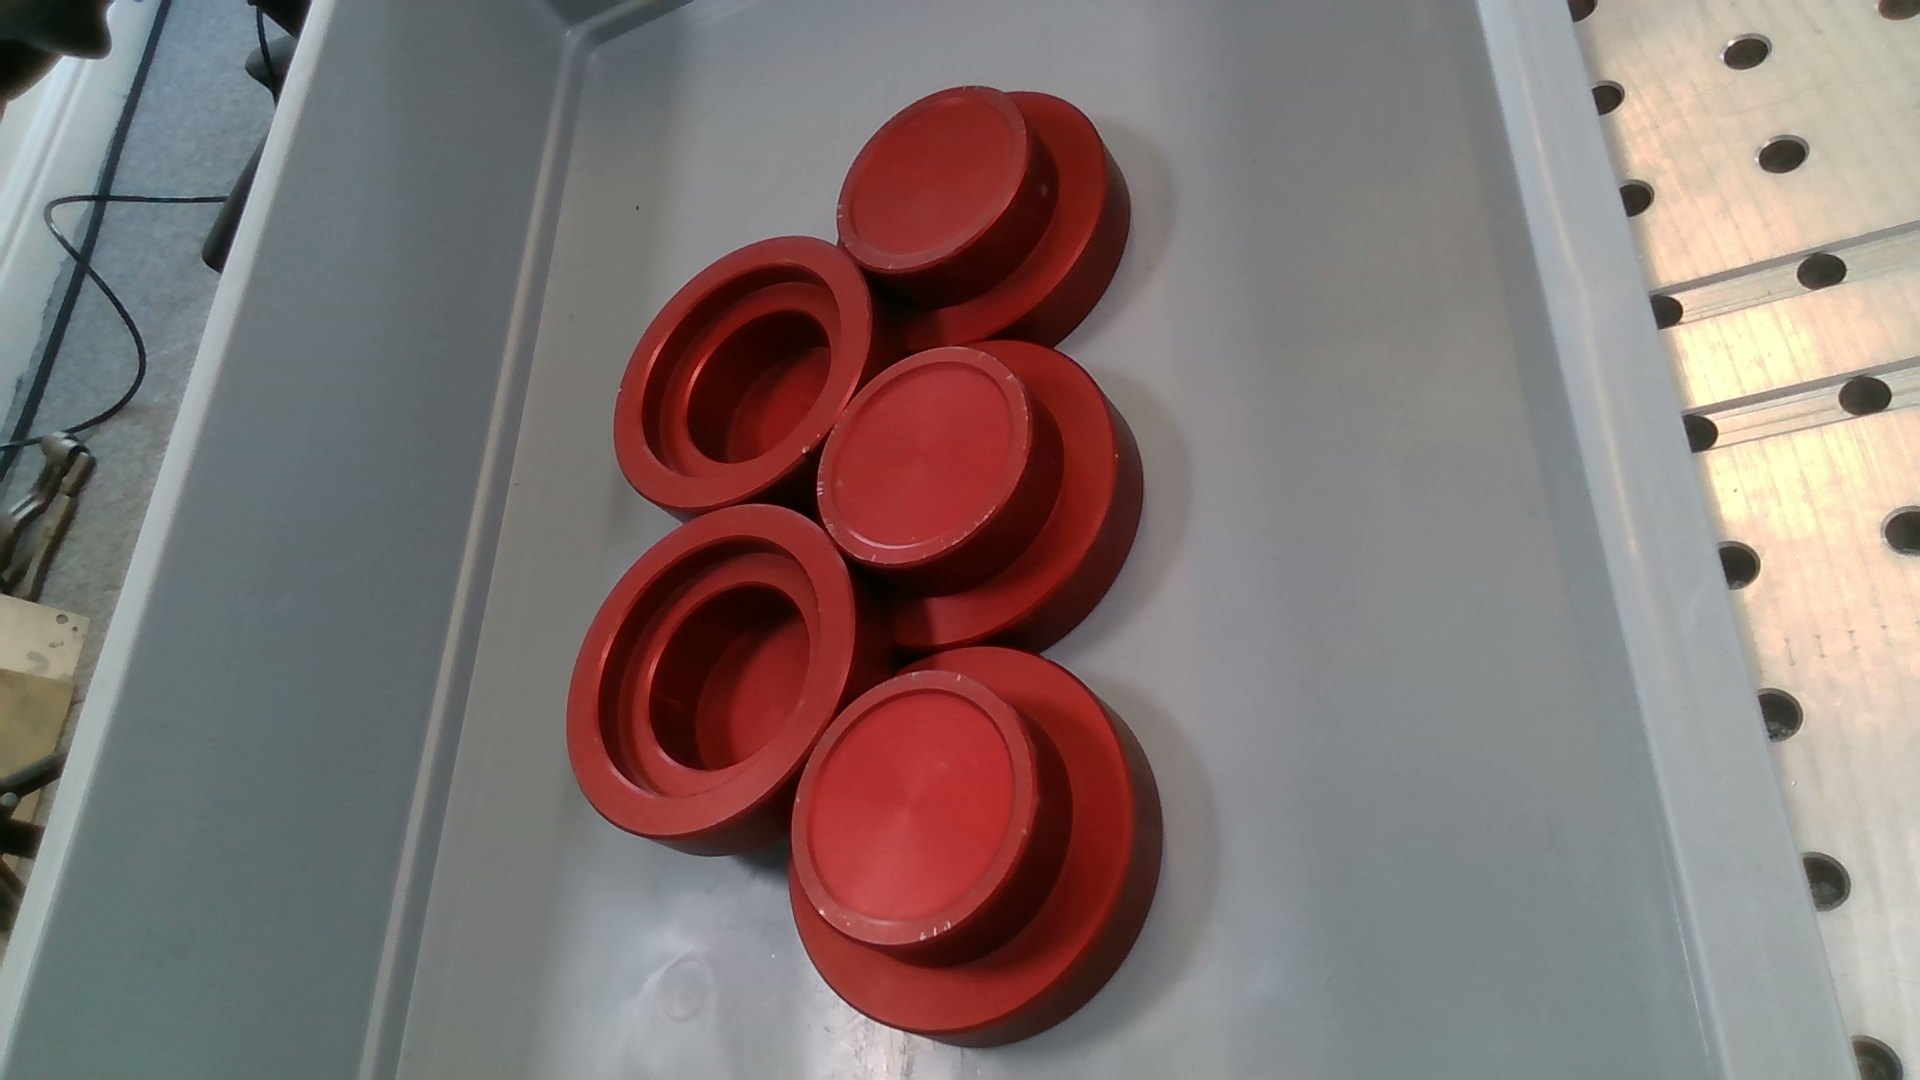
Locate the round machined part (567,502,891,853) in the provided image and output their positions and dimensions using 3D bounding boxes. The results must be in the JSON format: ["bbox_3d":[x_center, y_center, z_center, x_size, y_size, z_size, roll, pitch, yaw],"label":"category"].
[{"bbox_3d":[-0.061,0.042,0.396,0.098,0.042,0.098,-14,59,25],"label":"round machined part"}]

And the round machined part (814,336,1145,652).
[{"bbox_3d":[-0.001,-0.017,0.389,0.098,0.042,0.098,-14,58,24],"label":"round machined part"}]

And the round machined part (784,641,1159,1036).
[{"bbox_3d":[-0.004,0.071,0.344,0.098,0.042,0.098,-14,58,24],"label":"round machined part"}]

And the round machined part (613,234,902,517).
[{"bbox_3d":[-0.060,-0.045,0.441,0.098,0.042,0.098,-14,59,25],"label":"round machined part"}]

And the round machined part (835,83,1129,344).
[{"bbox_3d":[0.000,-0.103,0.434,0.098,0.042,0.098,-13,60,24],"label":"round machined part"}]
